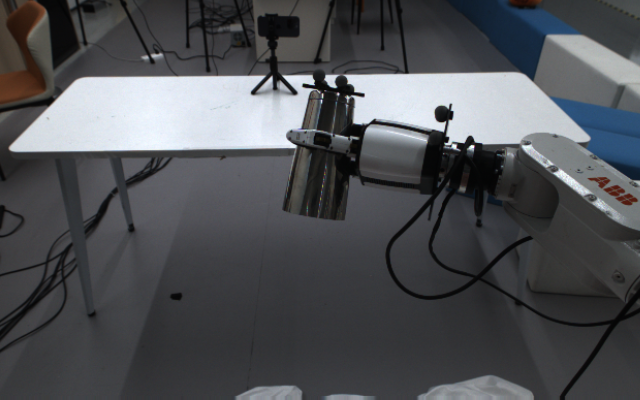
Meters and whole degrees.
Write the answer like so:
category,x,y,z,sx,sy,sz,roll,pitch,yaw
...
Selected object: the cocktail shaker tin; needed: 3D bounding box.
category,x,y,z,sx,sy,sz,roll,pitch,yaw
cocktail shaker tin,0.005,-0.063,0.686,0.093,0.170,0.093,9,3,0
